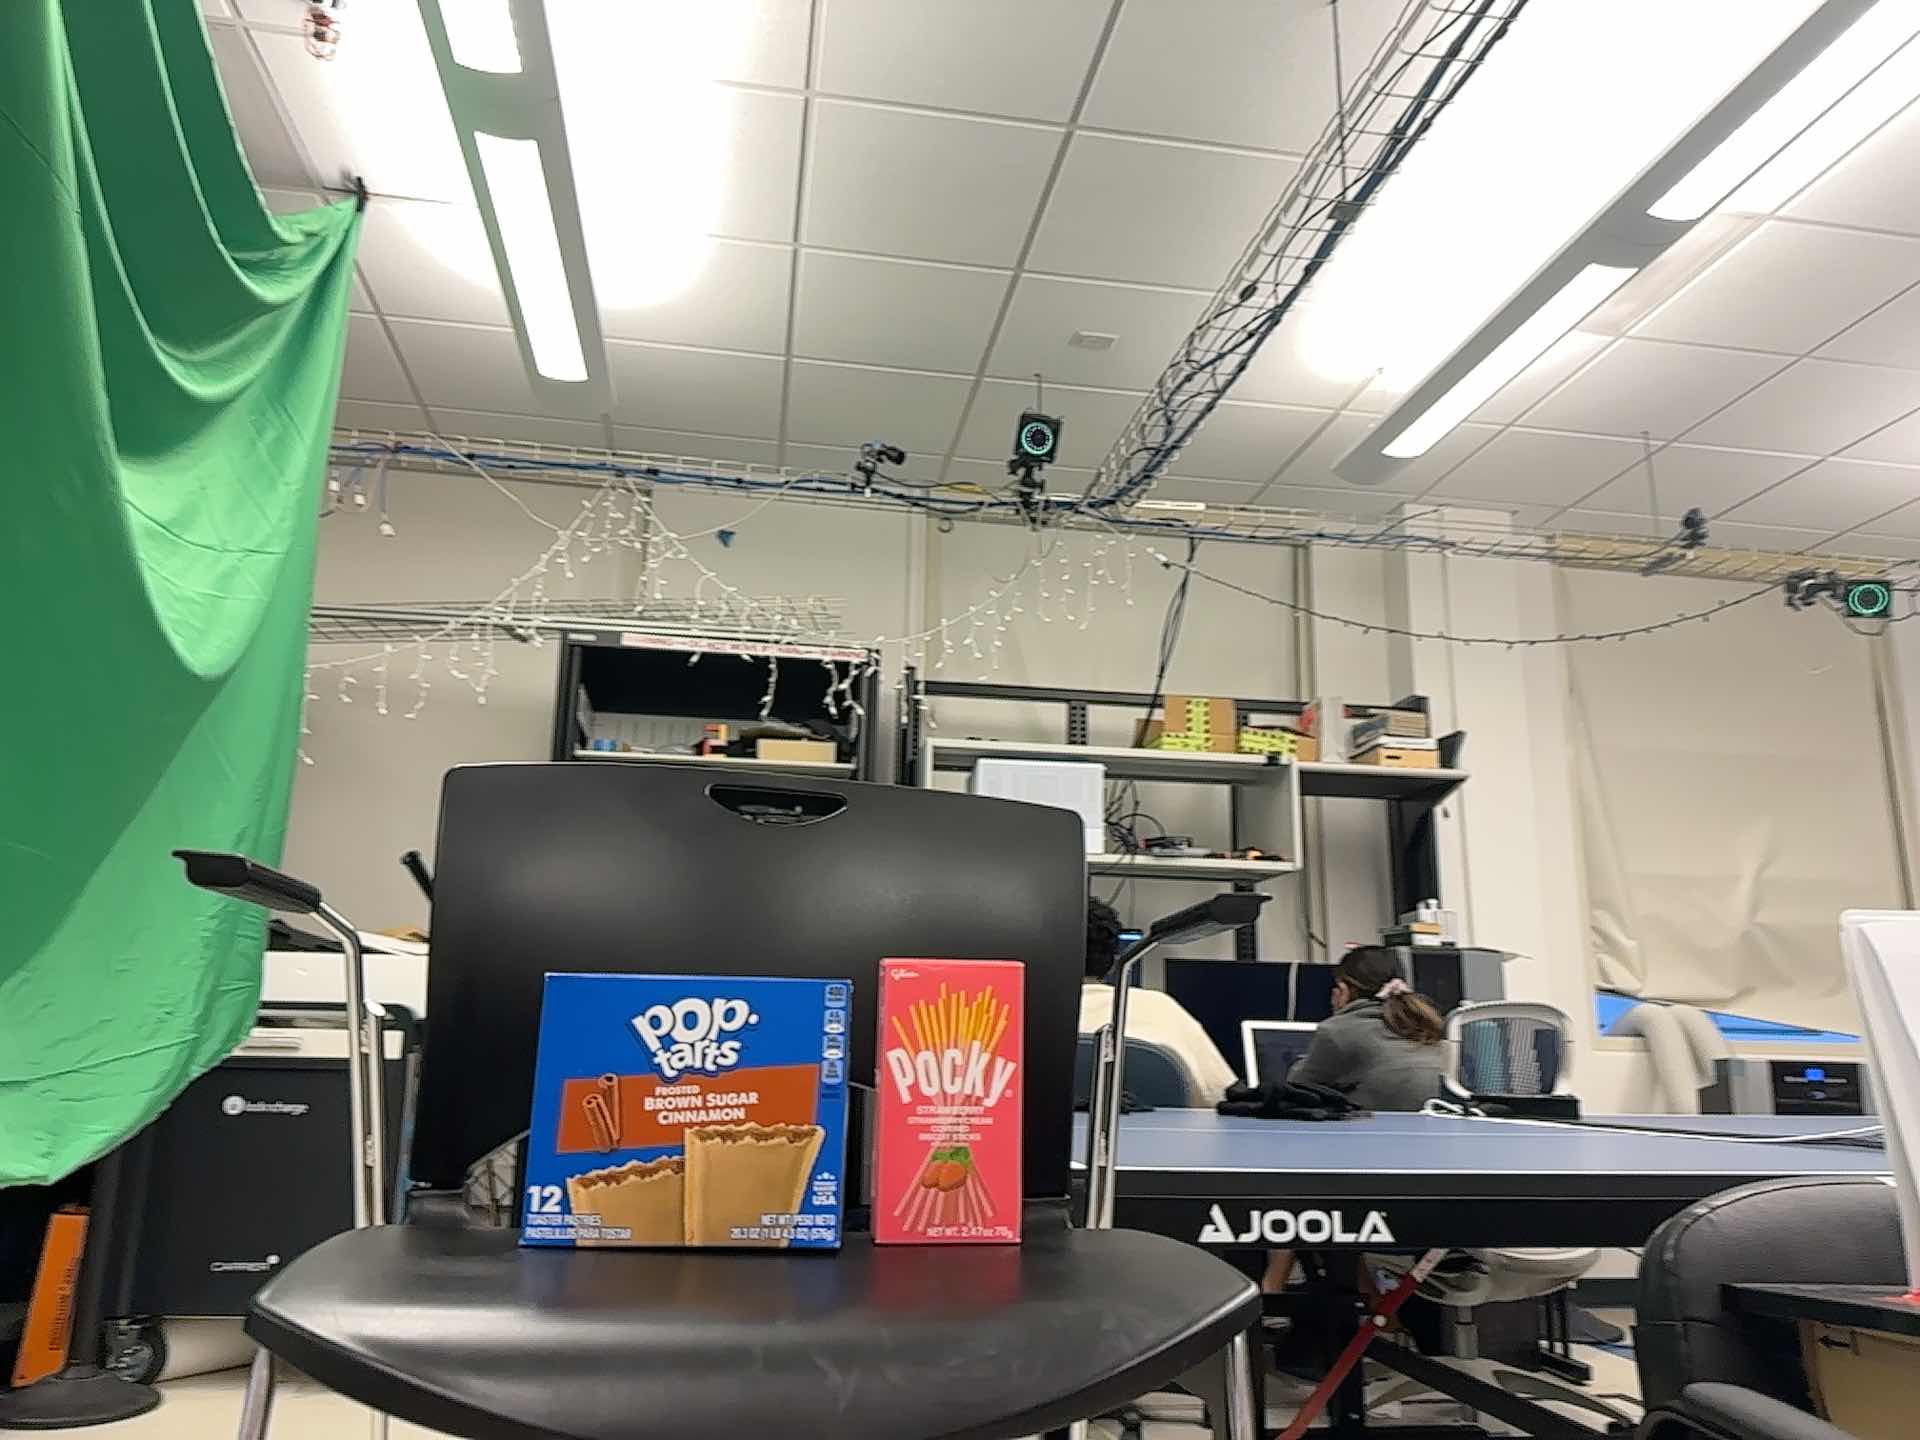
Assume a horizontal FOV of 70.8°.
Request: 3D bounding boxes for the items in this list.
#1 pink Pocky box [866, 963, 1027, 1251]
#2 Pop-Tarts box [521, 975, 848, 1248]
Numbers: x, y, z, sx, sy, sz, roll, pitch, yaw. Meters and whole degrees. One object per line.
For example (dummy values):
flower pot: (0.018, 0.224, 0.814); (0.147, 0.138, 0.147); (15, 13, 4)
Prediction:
pink Pocky box: (-0.007, 0.216, 0.764); (0.084, 0.155, 0.029); (4, -9, -13)
Pop-Tarts box: (-0.151, 0.220, 0.764); (0.161, 0.135, 0.075); (4, -14, -9)
